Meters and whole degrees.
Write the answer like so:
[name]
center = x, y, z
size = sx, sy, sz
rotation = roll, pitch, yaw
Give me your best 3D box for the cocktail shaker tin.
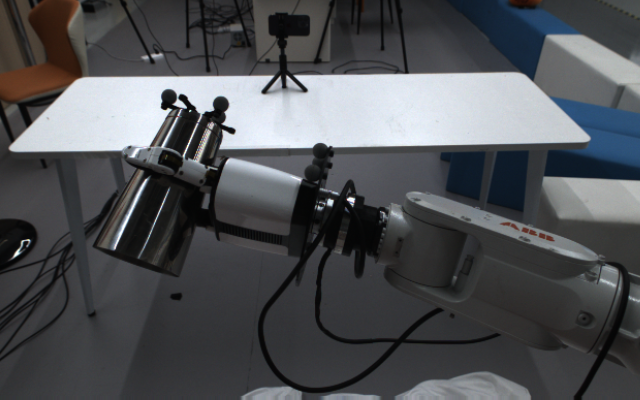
[cocktail shaker tin]
center = -0.169, -0.011, 0.531
size = 0.093, 0.093, 0.170
rotation = 13, 70, 15
